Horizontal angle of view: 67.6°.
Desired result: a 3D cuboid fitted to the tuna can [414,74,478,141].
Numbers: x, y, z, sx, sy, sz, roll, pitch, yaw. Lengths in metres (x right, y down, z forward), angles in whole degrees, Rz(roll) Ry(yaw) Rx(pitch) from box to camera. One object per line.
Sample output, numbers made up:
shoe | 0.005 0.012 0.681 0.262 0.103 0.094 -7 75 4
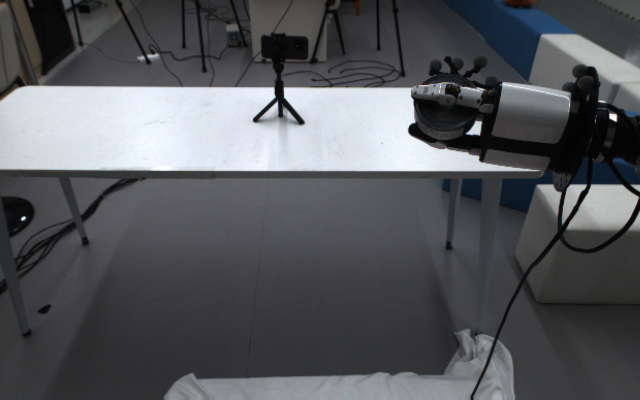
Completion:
tuna can | 0.171 -0.128 0.654 0.085 0.034 0.085 -4 67 10
